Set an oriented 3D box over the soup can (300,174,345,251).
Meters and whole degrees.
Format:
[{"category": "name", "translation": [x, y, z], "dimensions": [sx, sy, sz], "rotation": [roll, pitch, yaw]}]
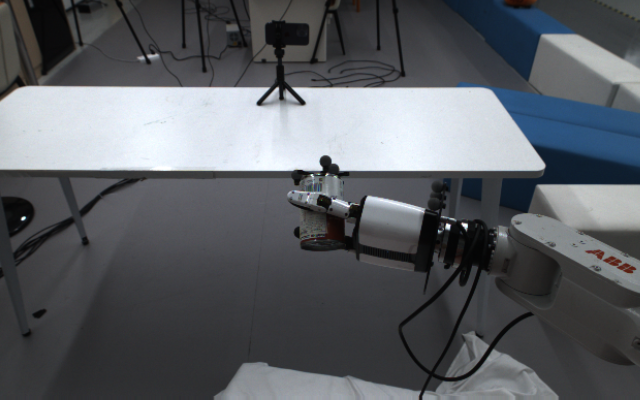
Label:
[{"category": "soup can", "translation": [0.005, 0.019, 0.710], "dimensions": [0.067, 0.067, 0.101], "rotation": [-1, 71, -5]}]
